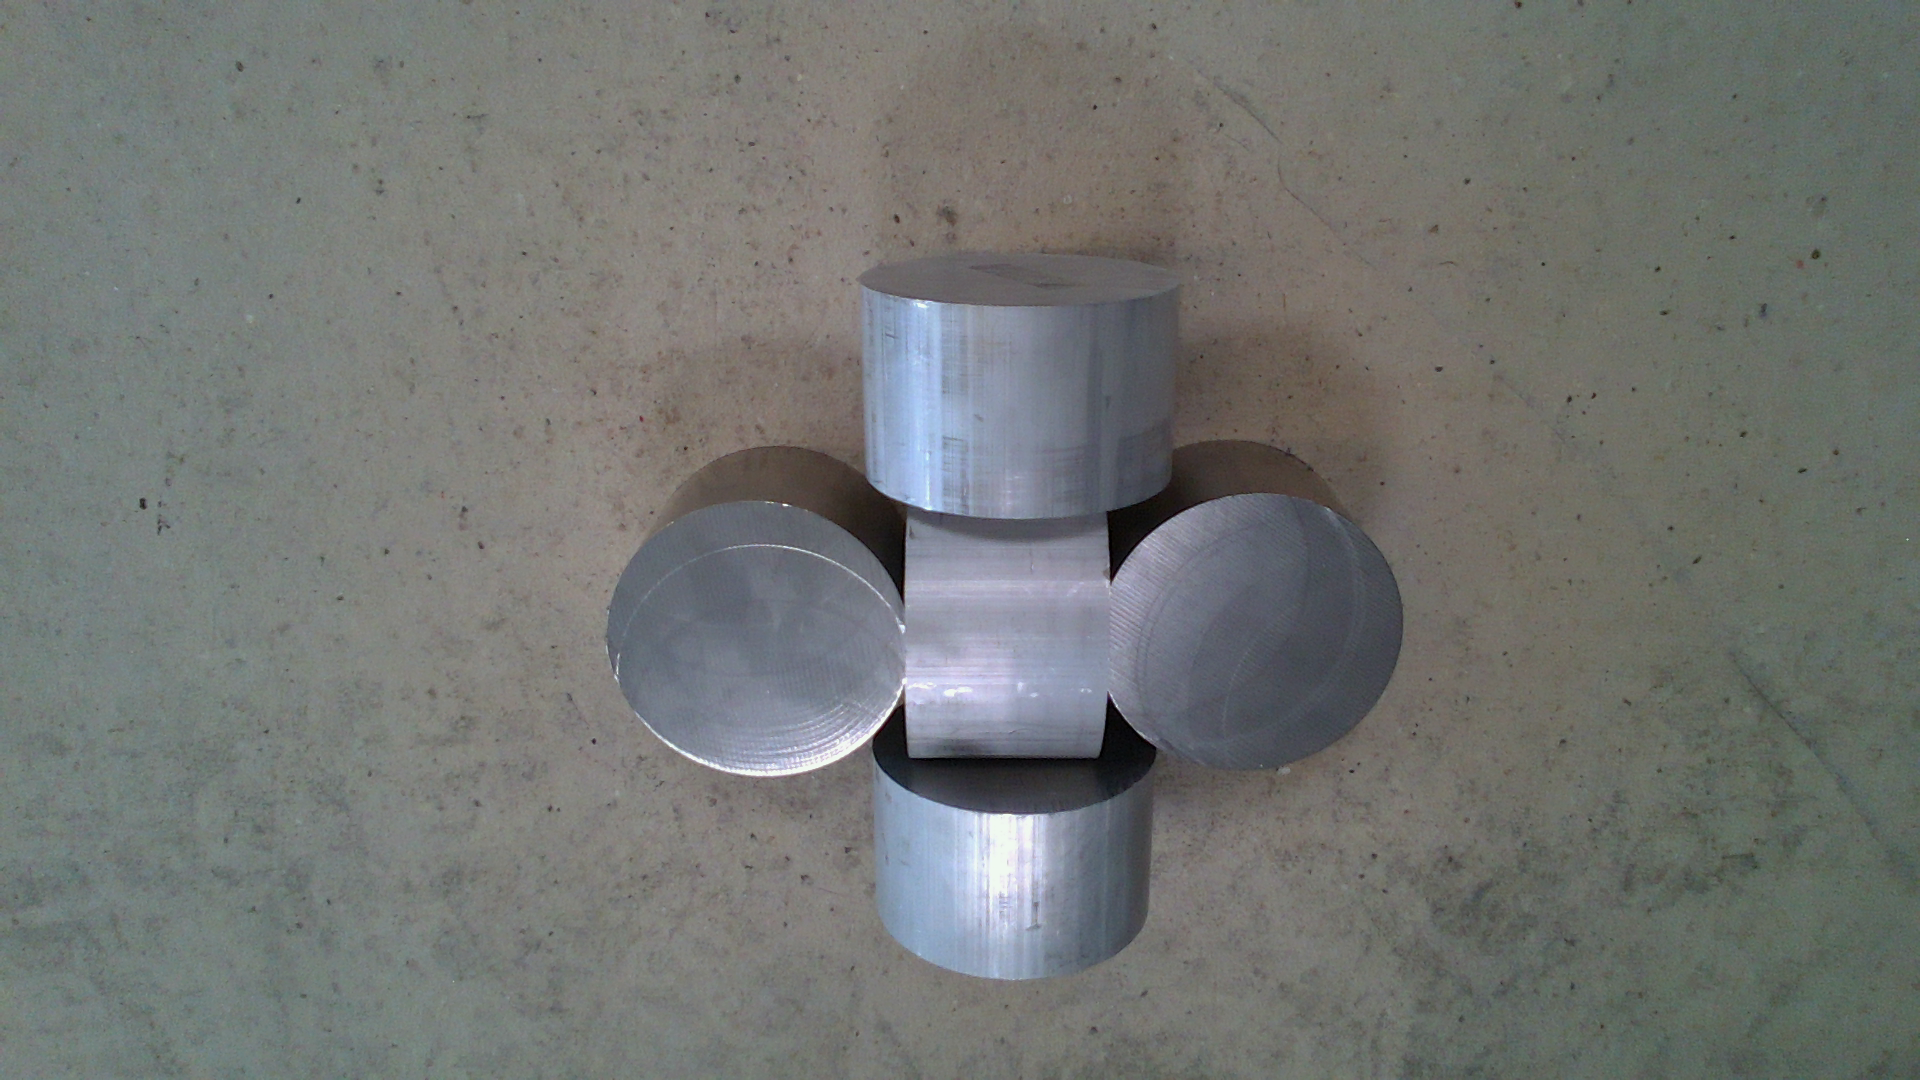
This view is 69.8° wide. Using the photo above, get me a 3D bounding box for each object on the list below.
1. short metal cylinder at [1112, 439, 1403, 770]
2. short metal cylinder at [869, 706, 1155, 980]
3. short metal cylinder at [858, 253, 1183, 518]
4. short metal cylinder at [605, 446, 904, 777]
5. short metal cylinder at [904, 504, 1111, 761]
[{"bbox_3d":[0.077,0.017,0.387,0.080,0.050,0.080,0,111,0],"label":"short metal cylinder"},{"bbox_3d":[0.015,0.080,0.395,0.080,0.080,0.050,0,110,0],"label":"short metal cylinder"},{"bbox_3d":[0.015,-0.042,0.350,0.080,0.080,0.050,0,110,0],"label":"short metal cylinder"},{"bbox_3d":[-0.054,0.019,0.387,0.080,0.050,0.080,0,110,-1],"label":"short metal cylinder"},{"bbox_3d":[0.012,0.019,0.372,0.050,0.080,0.080,0,110,0],"label":"short metal cylinder"}]
